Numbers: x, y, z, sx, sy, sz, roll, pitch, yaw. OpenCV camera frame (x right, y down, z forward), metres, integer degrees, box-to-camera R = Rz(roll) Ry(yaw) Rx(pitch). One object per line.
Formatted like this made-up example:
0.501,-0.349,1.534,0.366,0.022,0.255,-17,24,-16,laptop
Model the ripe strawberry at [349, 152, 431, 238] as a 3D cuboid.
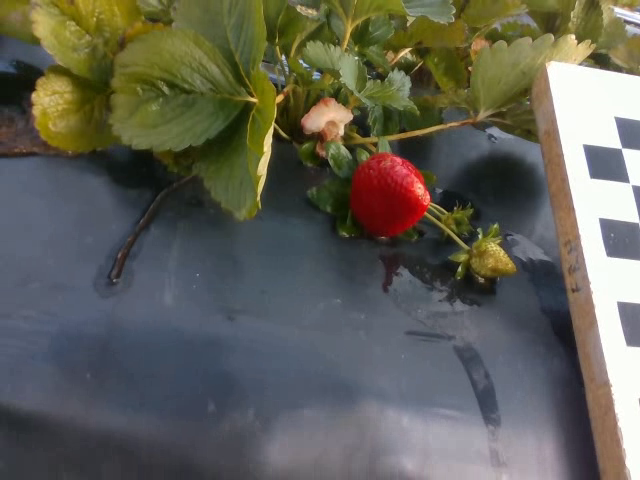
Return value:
0.043,-0.024,0.313,0.043,0.052,0.057,-20,7,-14,ripe strawberry
